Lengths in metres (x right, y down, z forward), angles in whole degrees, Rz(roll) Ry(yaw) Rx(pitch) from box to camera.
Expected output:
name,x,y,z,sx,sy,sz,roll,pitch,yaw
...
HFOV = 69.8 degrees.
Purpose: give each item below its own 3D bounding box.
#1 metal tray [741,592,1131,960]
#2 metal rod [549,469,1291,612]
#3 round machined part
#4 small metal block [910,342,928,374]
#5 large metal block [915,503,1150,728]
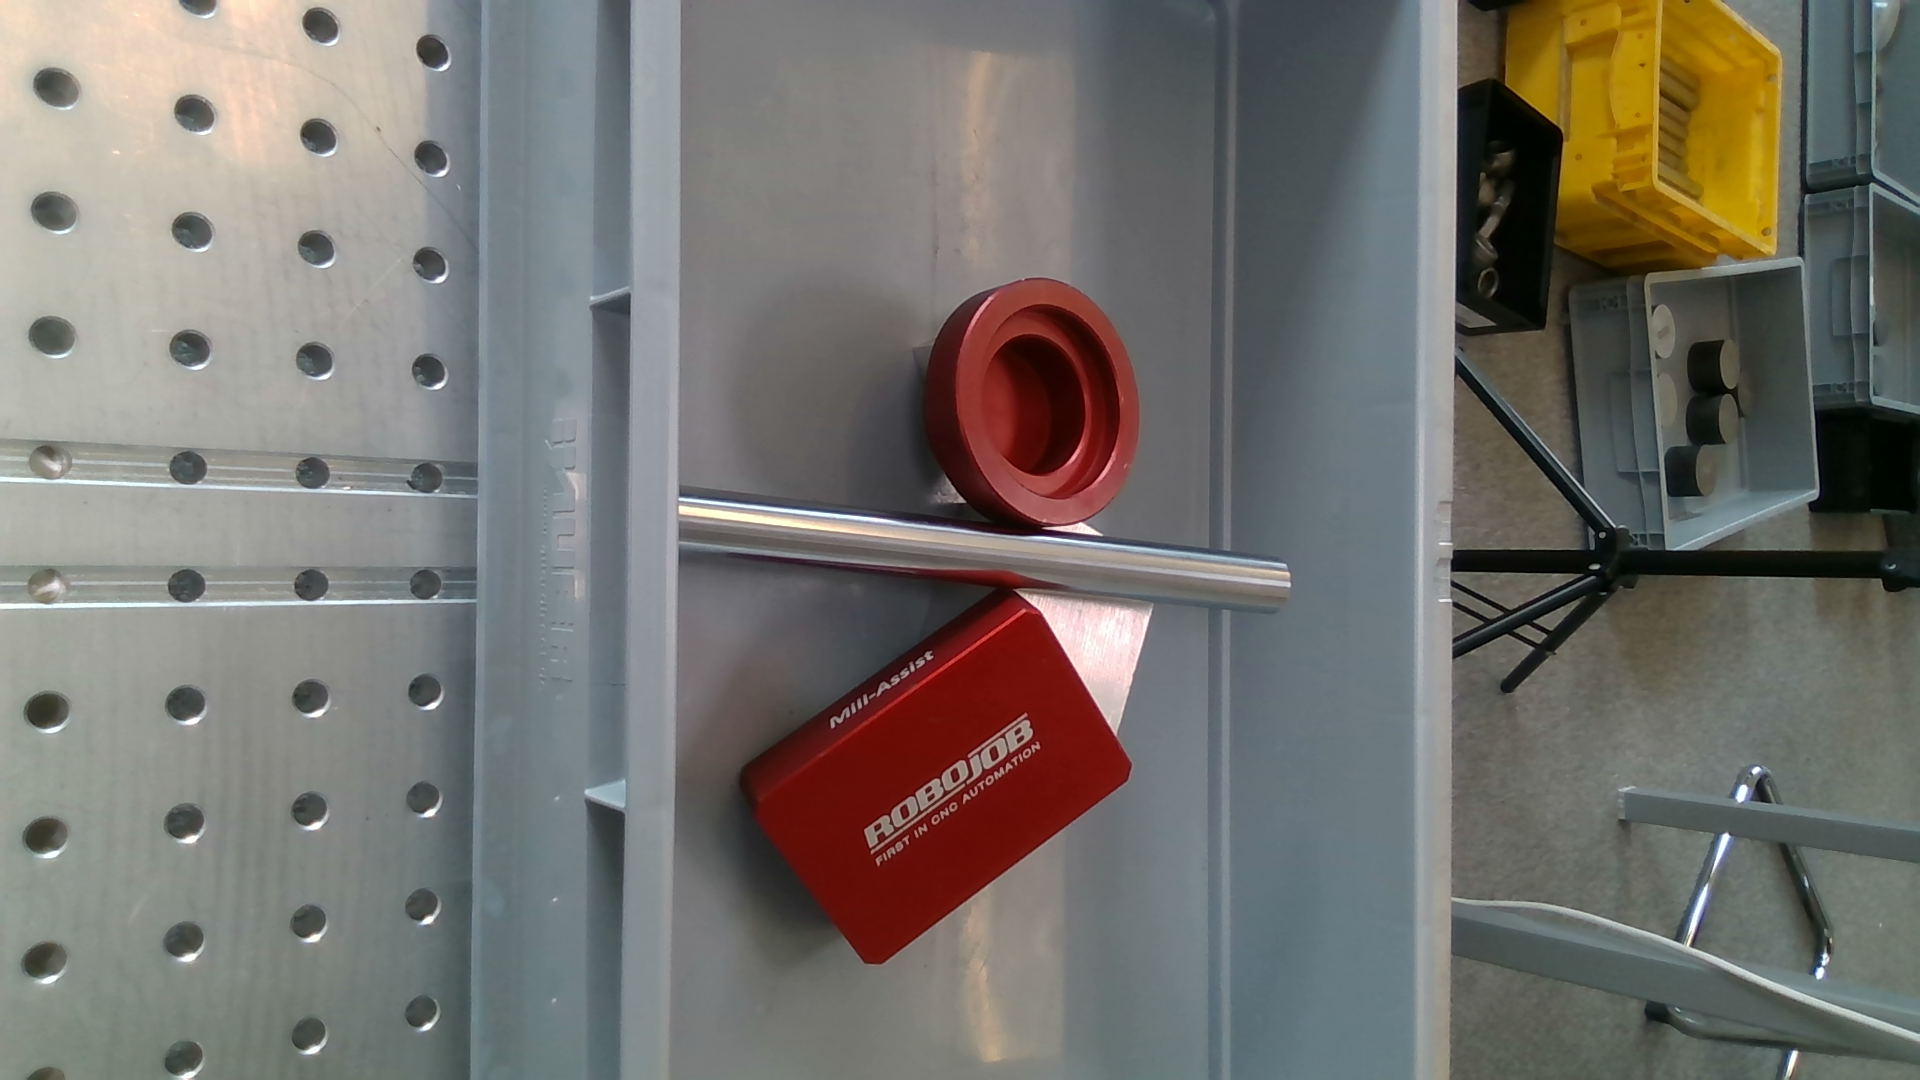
name,x,y,z,sx,sy,sz,roll,pitch,yaw
metal tray,-0.008,0.091,0.540,0.130,0.030,0.090,-35,114,-8
metal rod,-0.002,0.003,0.528,0.300,0.025,0.025,6,86,-24
round machined part,0.024,-0.054,0.556,0.098,0.042,0.098,3,85,-39
small metal block,0.012,-0.068,0.593,0.050,0.025,0.050,-28,108,-37
large metal block,0.033,0.034,0.595,0.080,0.050,0.080,29,72,-37
